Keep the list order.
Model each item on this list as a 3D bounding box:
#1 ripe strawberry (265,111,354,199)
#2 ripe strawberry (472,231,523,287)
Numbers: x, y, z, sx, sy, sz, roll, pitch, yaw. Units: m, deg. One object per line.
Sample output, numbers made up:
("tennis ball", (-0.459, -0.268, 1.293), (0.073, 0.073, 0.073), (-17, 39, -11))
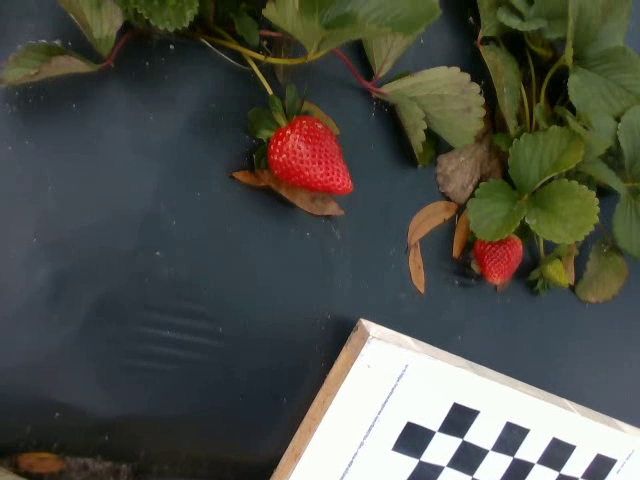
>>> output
("ripe strawberry", (-0.002, -0.043, 0.389), (0.065, 0.047, 0.042), (40, 13, 25))
("ripe strawberry", (0.125, 0.017, 0.453), (0.040, 0.042, 0.037), (35, -40, -27))
